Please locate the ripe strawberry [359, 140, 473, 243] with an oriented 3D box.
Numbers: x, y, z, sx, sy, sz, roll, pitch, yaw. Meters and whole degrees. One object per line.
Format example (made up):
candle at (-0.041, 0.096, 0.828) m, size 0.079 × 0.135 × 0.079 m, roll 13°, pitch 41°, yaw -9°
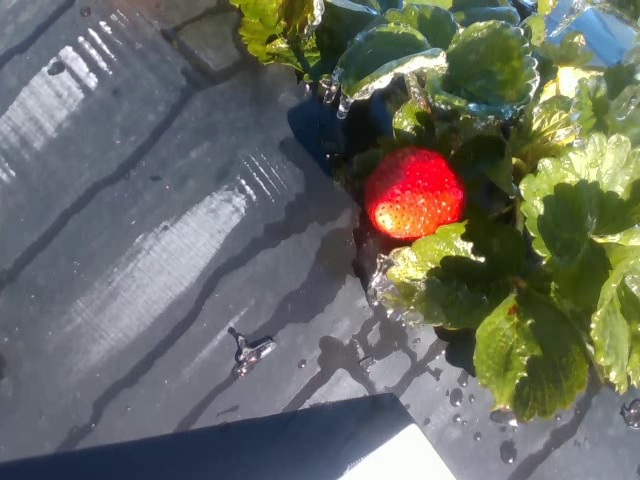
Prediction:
ripe strawberry at (0.031, -0.014, 0.215) m, size 0.047 × 0.042 × 0.052 m, roll -51°, pitch -18°, yaw 27°
